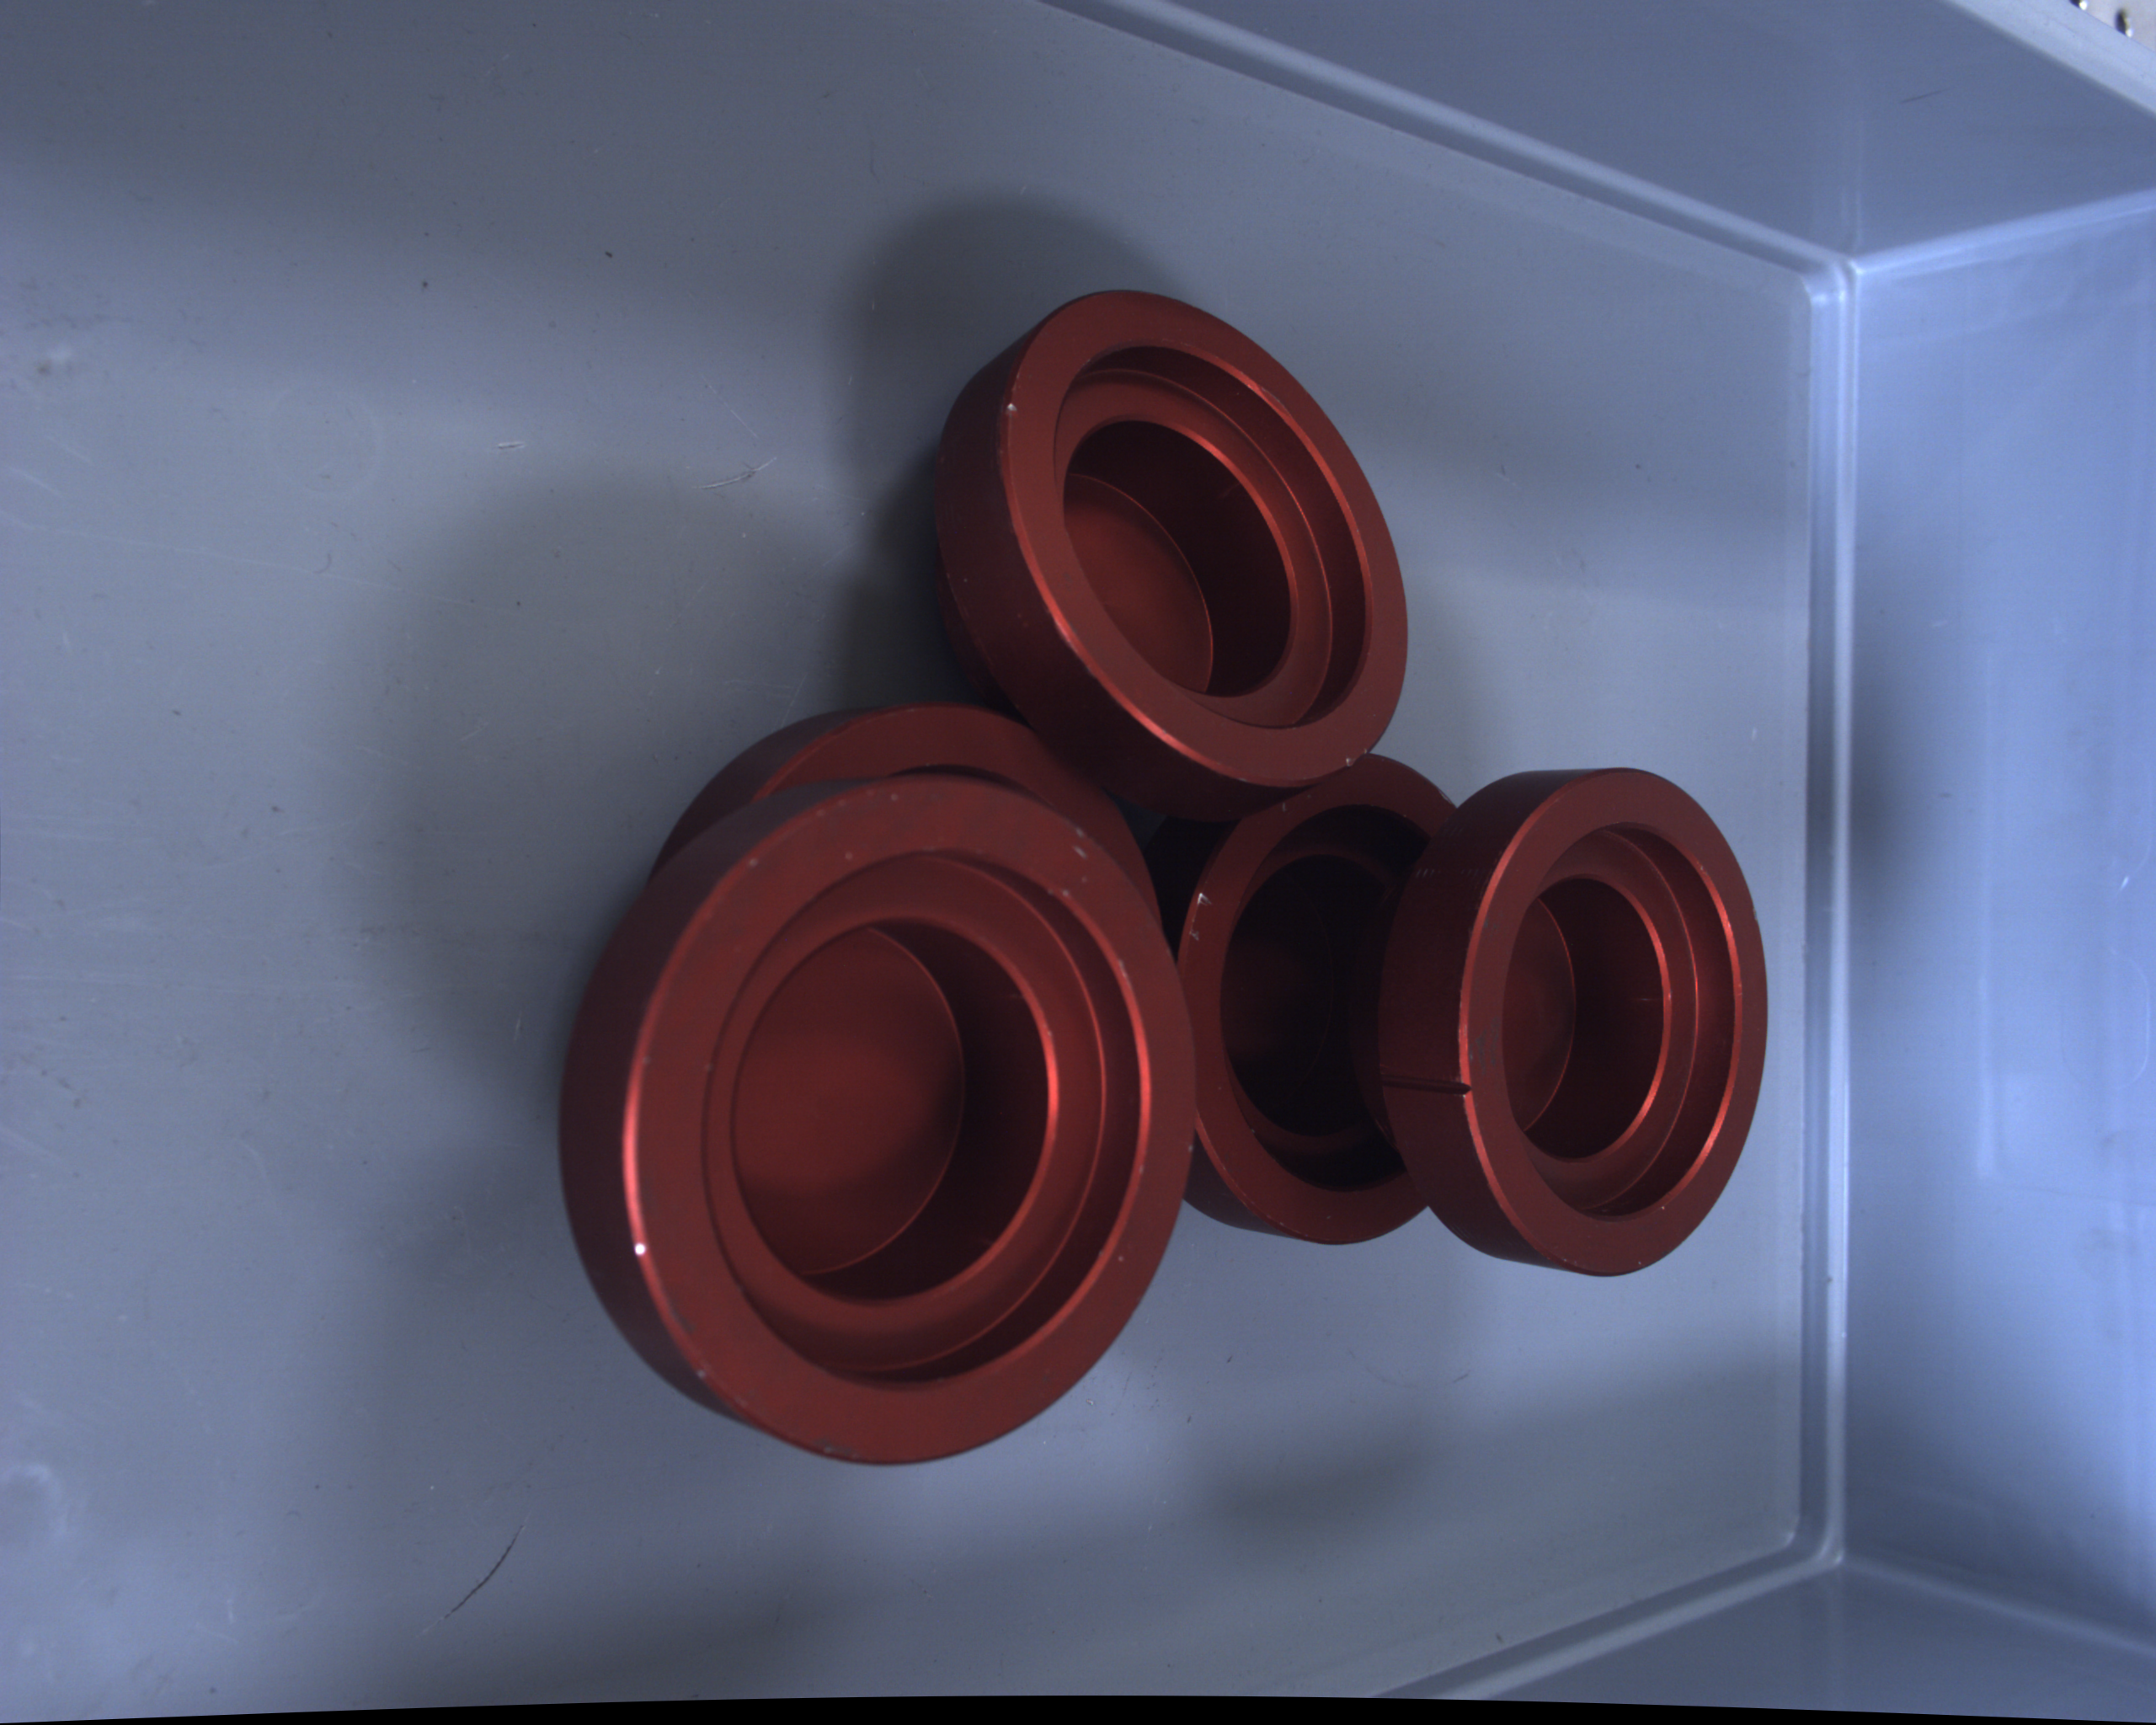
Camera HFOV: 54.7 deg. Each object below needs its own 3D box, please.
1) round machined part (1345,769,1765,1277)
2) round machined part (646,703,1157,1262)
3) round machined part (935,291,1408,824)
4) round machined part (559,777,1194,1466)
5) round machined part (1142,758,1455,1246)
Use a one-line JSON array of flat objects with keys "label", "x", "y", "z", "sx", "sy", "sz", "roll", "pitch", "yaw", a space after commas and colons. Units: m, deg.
[{"label": "round machined part", "x": 0.092, "y": 0.031, "z": 0.416, "sx": 0.099, "sy": 0.042, "sz": 0.097, "roll": 0, "pitch": 90, "yaw": -40}, {"label": "round machined part", "x": -0.035, "y": 0.022, "z": 0.364, "sx": 0.099, "sy": 0.042, "sz": 0.097, "roll": 0, "pitch": 90, "yaw": -40}, {"label": "round machined part", "x": 0.013, "y": -0.053, "z": 0.391, "sx": 0.099, "sy": 0.042, "sz": 0.098, "roll": 18, "pitch": 61, "yaw": -35}, {"label": "round machined part", "x": -0.032, "y": 0.036, "z": 0.312, "sx": 0.099, "sy": 0.042, "sz": 0.097, "roll": 0, "pitch": 90, "yaw": -40}, {"label": "round machined part", "x": 0.042, "y": 0.027, "z": 0.429, "sx": 0.099, "sy": 0.042, "sz": 0.097, "roll": 0, "pitch": 90, "yaw": -40}]
